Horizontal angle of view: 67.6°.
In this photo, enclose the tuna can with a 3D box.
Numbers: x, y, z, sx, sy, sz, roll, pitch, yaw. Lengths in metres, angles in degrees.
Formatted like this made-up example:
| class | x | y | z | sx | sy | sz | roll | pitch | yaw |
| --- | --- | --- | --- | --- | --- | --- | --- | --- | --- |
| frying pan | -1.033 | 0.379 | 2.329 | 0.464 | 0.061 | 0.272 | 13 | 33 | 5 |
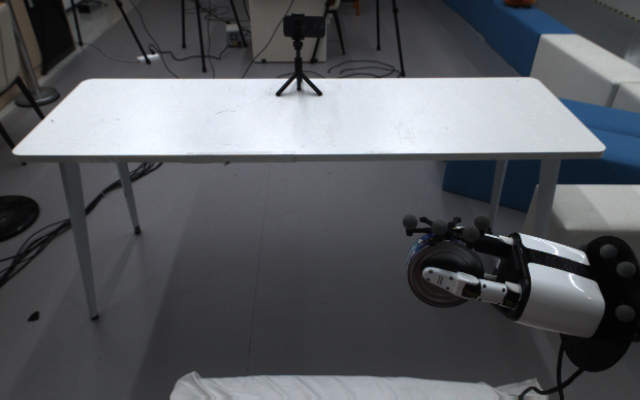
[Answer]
| class | x | y | z | sx | sy | sz | roll | pitch | yaw |
| --- | --- | --- | --- | --- | --- | --- | --- | --- | --- |
| tuna can | 0.146 | 0.079 | 0.565 | 0.085 | 0.085 | 0.034 | 5 | 16 | 4 |
